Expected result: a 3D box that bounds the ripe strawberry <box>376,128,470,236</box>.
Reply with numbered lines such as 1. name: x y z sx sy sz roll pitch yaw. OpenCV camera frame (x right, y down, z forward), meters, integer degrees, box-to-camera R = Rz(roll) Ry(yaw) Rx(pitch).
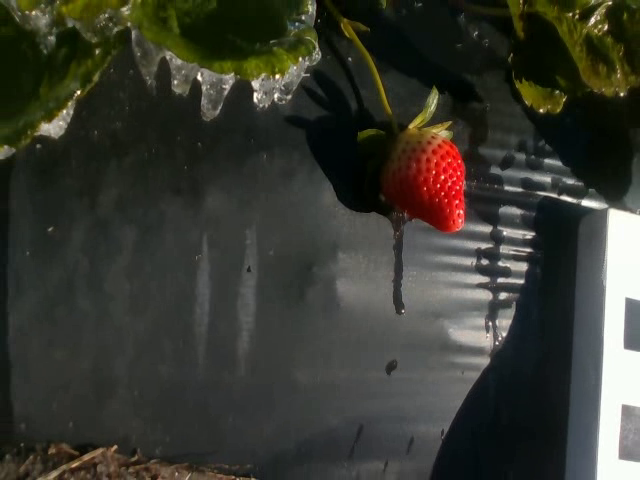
1. ripe strawberry: 0.047 -0.023 0.245 0.039 0.053 0.041 -10 -25 -18
